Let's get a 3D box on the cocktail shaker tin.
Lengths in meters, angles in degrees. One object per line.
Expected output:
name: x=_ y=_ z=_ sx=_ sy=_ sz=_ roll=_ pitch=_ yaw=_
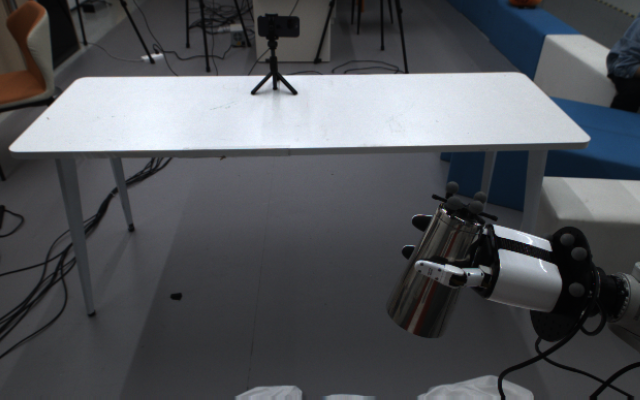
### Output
cocktail shaker tin: x=0.164 y=0.091 z=0.668 sx=0.093 sy=0.170 sz=0.093 roll=16 pitch=21 yaw=-6
